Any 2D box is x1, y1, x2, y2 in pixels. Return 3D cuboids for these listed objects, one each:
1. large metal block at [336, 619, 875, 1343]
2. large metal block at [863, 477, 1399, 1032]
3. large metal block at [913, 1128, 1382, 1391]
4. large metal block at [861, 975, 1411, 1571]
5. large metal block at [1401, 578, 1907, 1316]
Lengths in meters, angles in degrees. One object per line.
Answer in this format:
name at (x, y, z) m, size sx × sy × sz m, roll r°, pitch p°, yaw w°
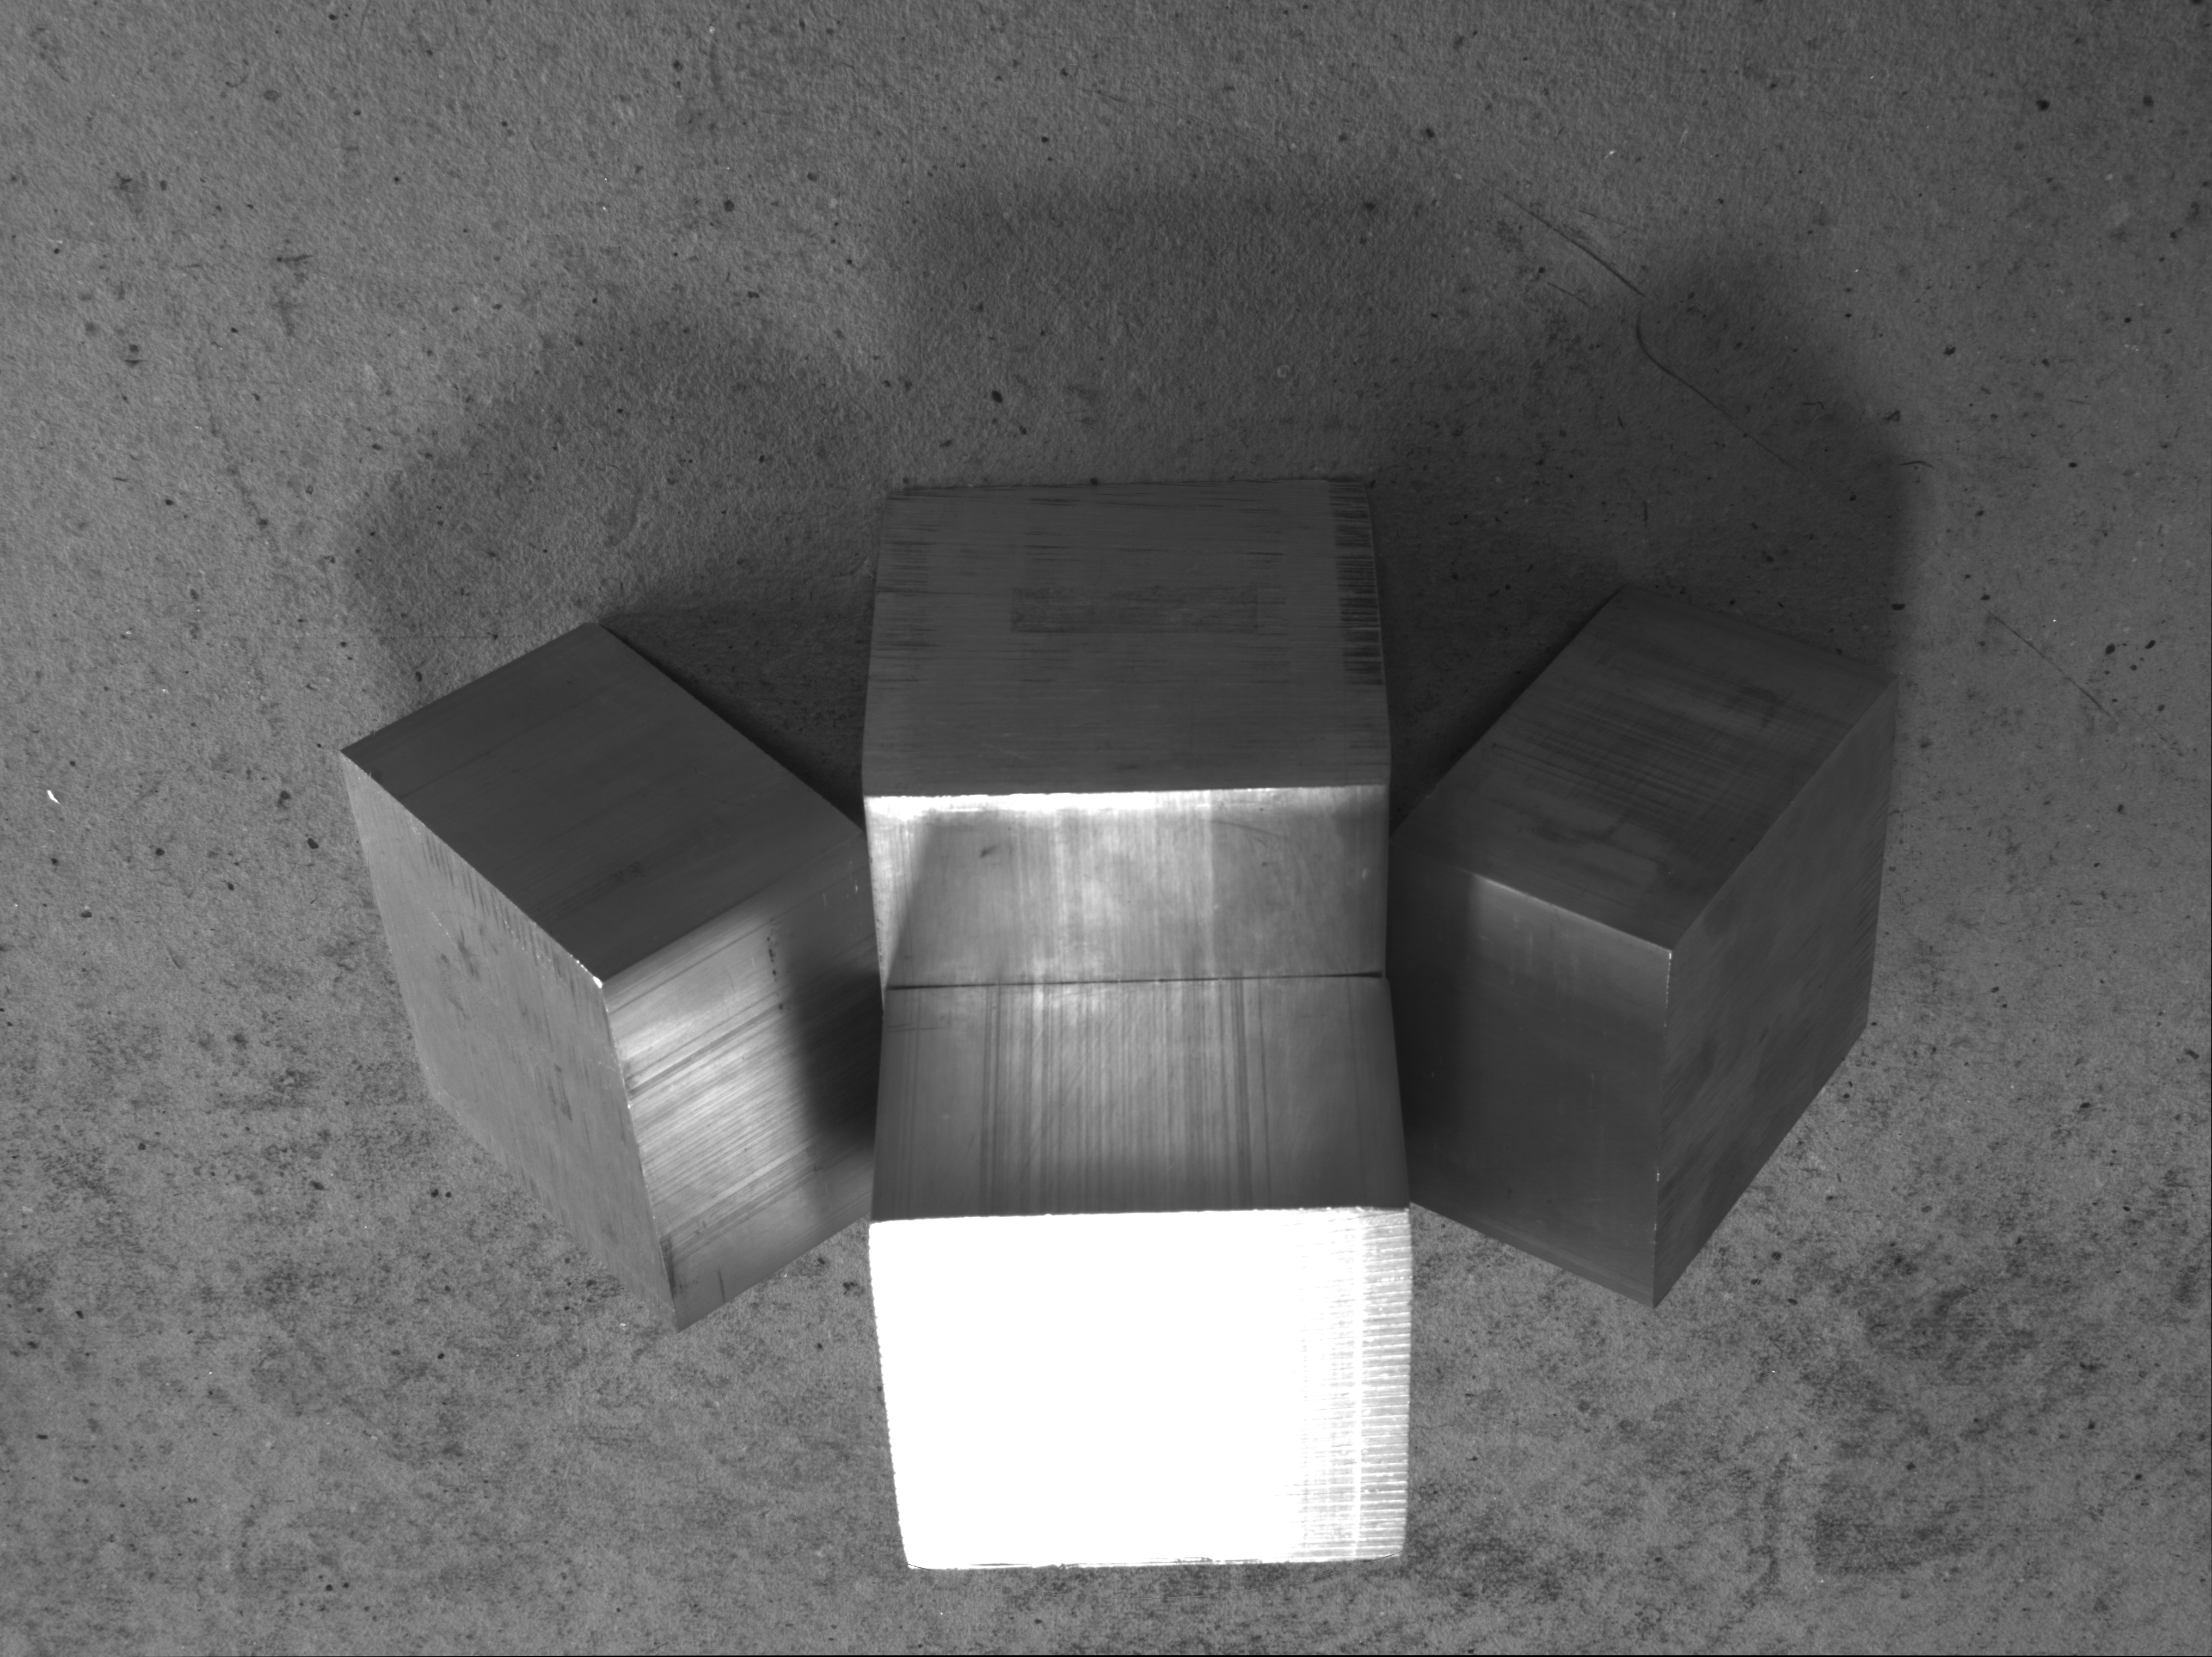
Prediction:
large metal block at (-0.079, 0.024, 0.615) m, size 0.050 × 0.080 × 0.080 m, roll -30°, pitch 136°, yaw -27°
large metal block at (0.004, -0.012, 0.594) m, size 0.080 × 0.080 × 0.050 m, roll -2°, pitch 130°, yaw 1°
large metal block at (0.009, 0.057, 0.653) m, size 0.080 × 0.080 × 0.050 m, roll -3°, pitch 130°, yaw 3°
large metal block at (0.006, 0.071, 0.578) m, size 0.080 × 0.050 × 0.080 m, roll -2°, pitch 130°, yaw 1°
large metal block at (0.090, 0.019, 0.609) m, size 0.050 × 0.080 × 0.080 m, roll 22°, pitch 136°, yaw 28°
